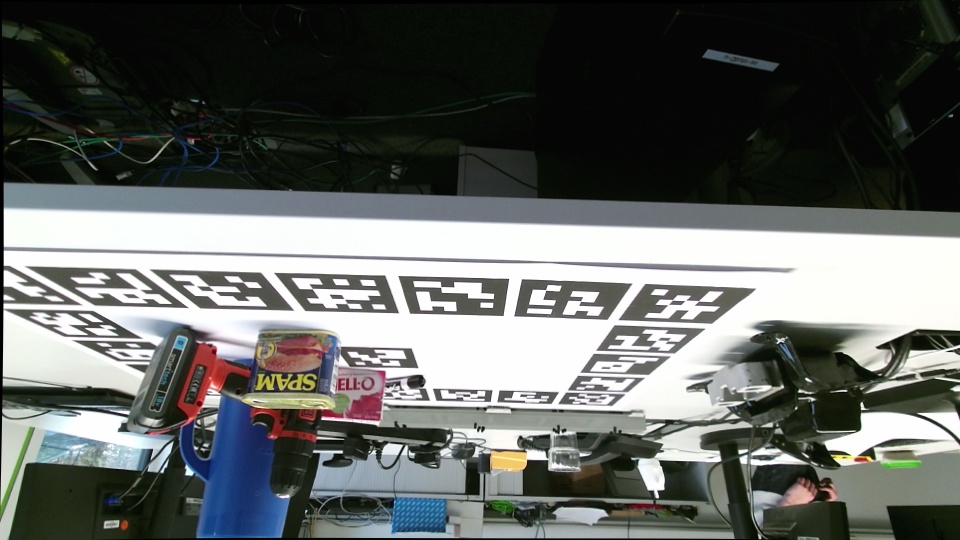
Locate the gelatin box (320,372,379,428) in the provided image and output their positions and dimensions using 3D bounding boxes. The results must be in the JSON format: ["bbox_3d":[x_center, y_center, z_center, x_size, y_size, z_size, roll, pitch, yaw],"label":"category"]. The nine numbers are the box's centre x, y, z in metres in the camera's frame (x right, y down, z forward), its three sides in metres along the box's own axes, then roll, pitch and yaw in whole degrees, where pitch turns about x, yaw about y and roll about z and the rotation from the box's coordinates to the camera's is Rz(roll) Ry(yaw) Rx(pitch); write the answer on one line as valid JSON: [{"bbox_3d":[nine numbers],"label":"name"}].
[{"bbox_3d":[-0.199,0.189,0.789,0.090,0.073,0.030,8,146,-9],"label":"gelatin box"}]

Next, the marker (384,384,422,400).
[{"bbox_3d":[-0.146,0.197,0.849,0.121,0.019,0.020,-13,148,22],"label":"marker"}]

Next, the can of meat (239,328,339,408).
[{"bbox_3d":[-0.224,0.117,0.641,0.102,0.083,0.058,1,153,0],"label":"can of meat"}]

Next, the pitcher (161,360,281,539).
[{"bbox_3d":[-0.345,0.255,0.753,0.189,0.241,0.133,13,146,-33],"label":"pitcher"}]

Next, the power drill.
[{"bbox_3d":[-0.294,0.187,0.674,0.188,0.183,0.057,26,140,-27],"label":"power drill"}]
